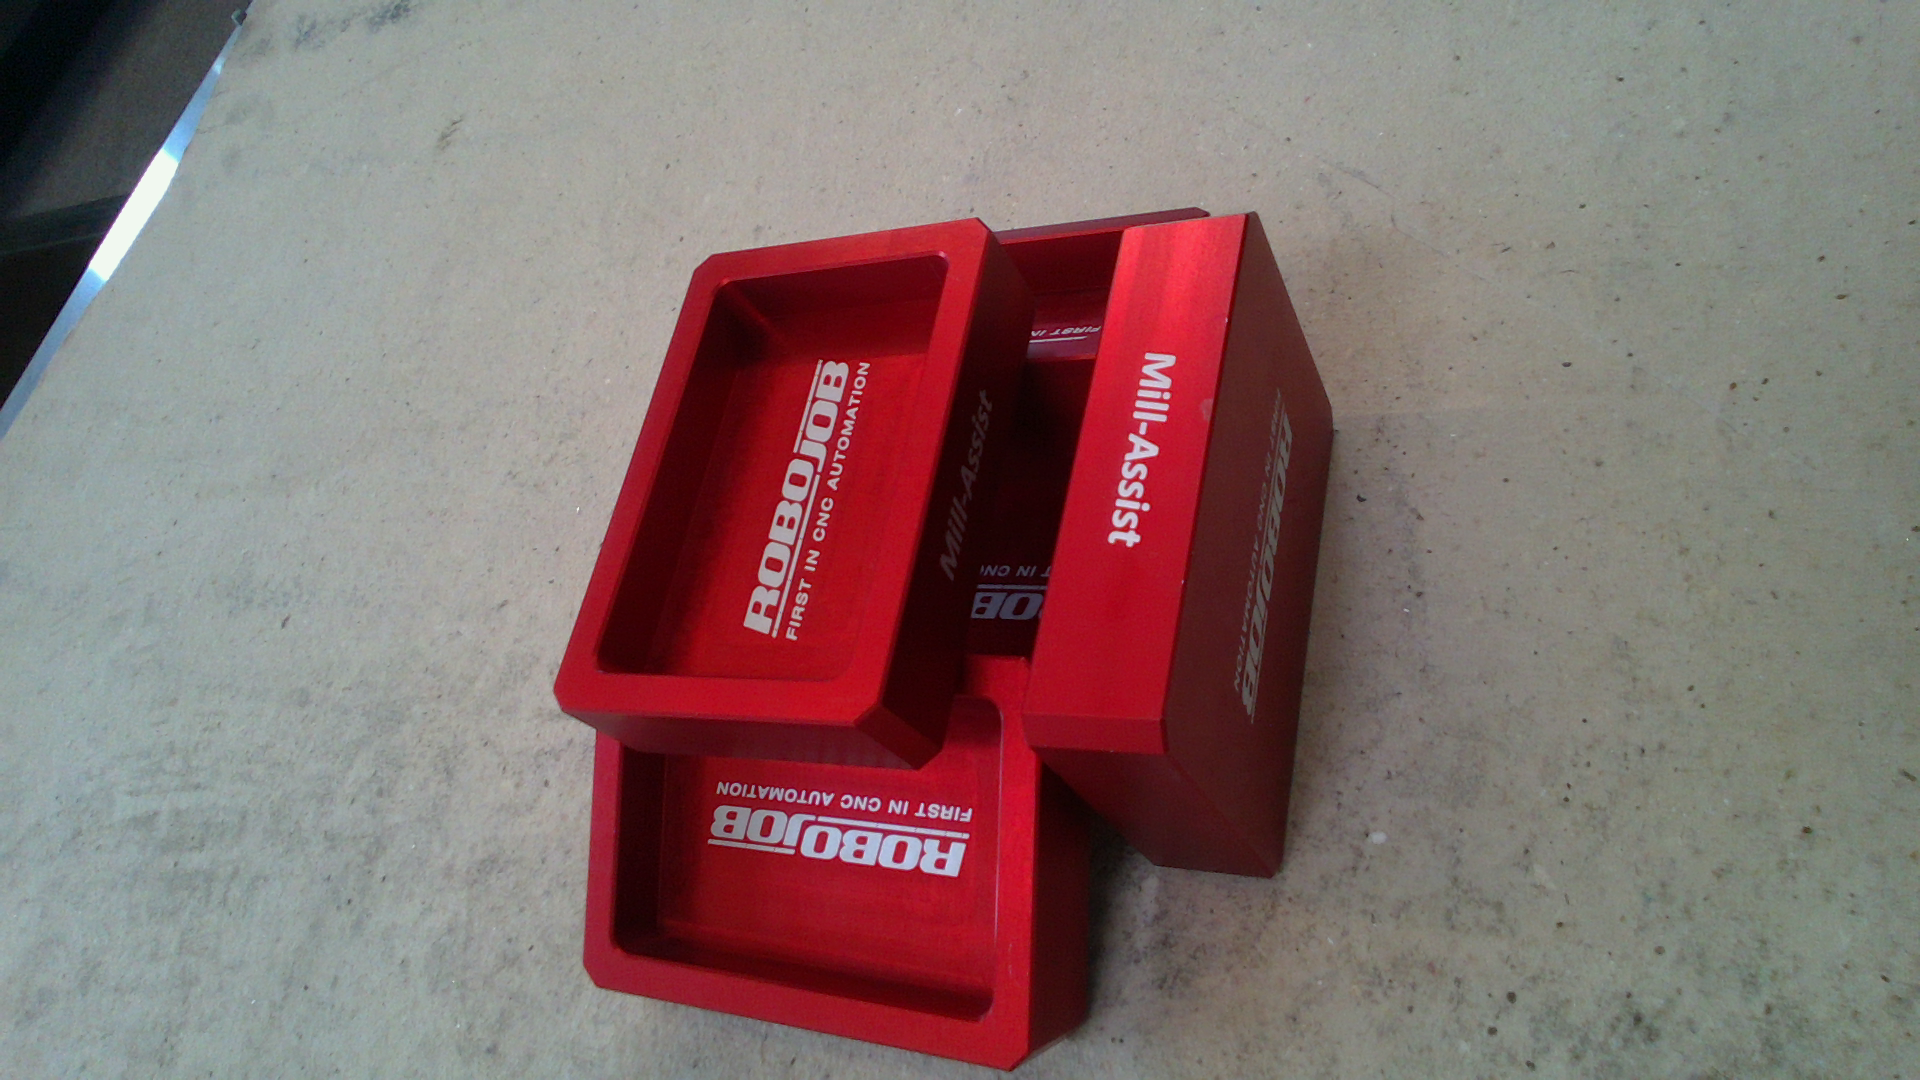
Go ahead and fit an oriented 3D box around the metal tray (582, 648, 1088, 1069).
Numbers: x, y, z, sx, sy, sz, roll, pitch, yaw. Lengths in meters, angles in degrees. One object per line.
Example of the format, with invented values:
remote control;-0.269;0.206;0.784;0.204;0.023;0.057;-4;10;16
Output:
metal tray;-0.034;0.071;0.343;0.130;0.030;0.090;0;86;28

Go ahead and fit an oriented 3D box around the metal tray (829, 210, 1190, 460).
metal tray;0.002;-0.059;0.403;0.130;0.030;0.090;0;35;28

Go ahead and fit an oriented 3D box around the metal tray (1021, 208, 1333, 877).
metal tray;0.056;0.002;0.320;0.030;0.090;0.130;-1;61;28

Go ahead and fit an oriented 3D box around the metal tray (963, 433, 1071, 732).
metal tray;-0.003;0.011;0.383;0.130;0.030;0.090;-1;63;28

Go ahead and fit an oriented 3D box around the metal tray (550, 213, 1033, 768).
metal tray;-0.039;-0.014;0.336;0.090;0.030;0.130;-1;63;28
